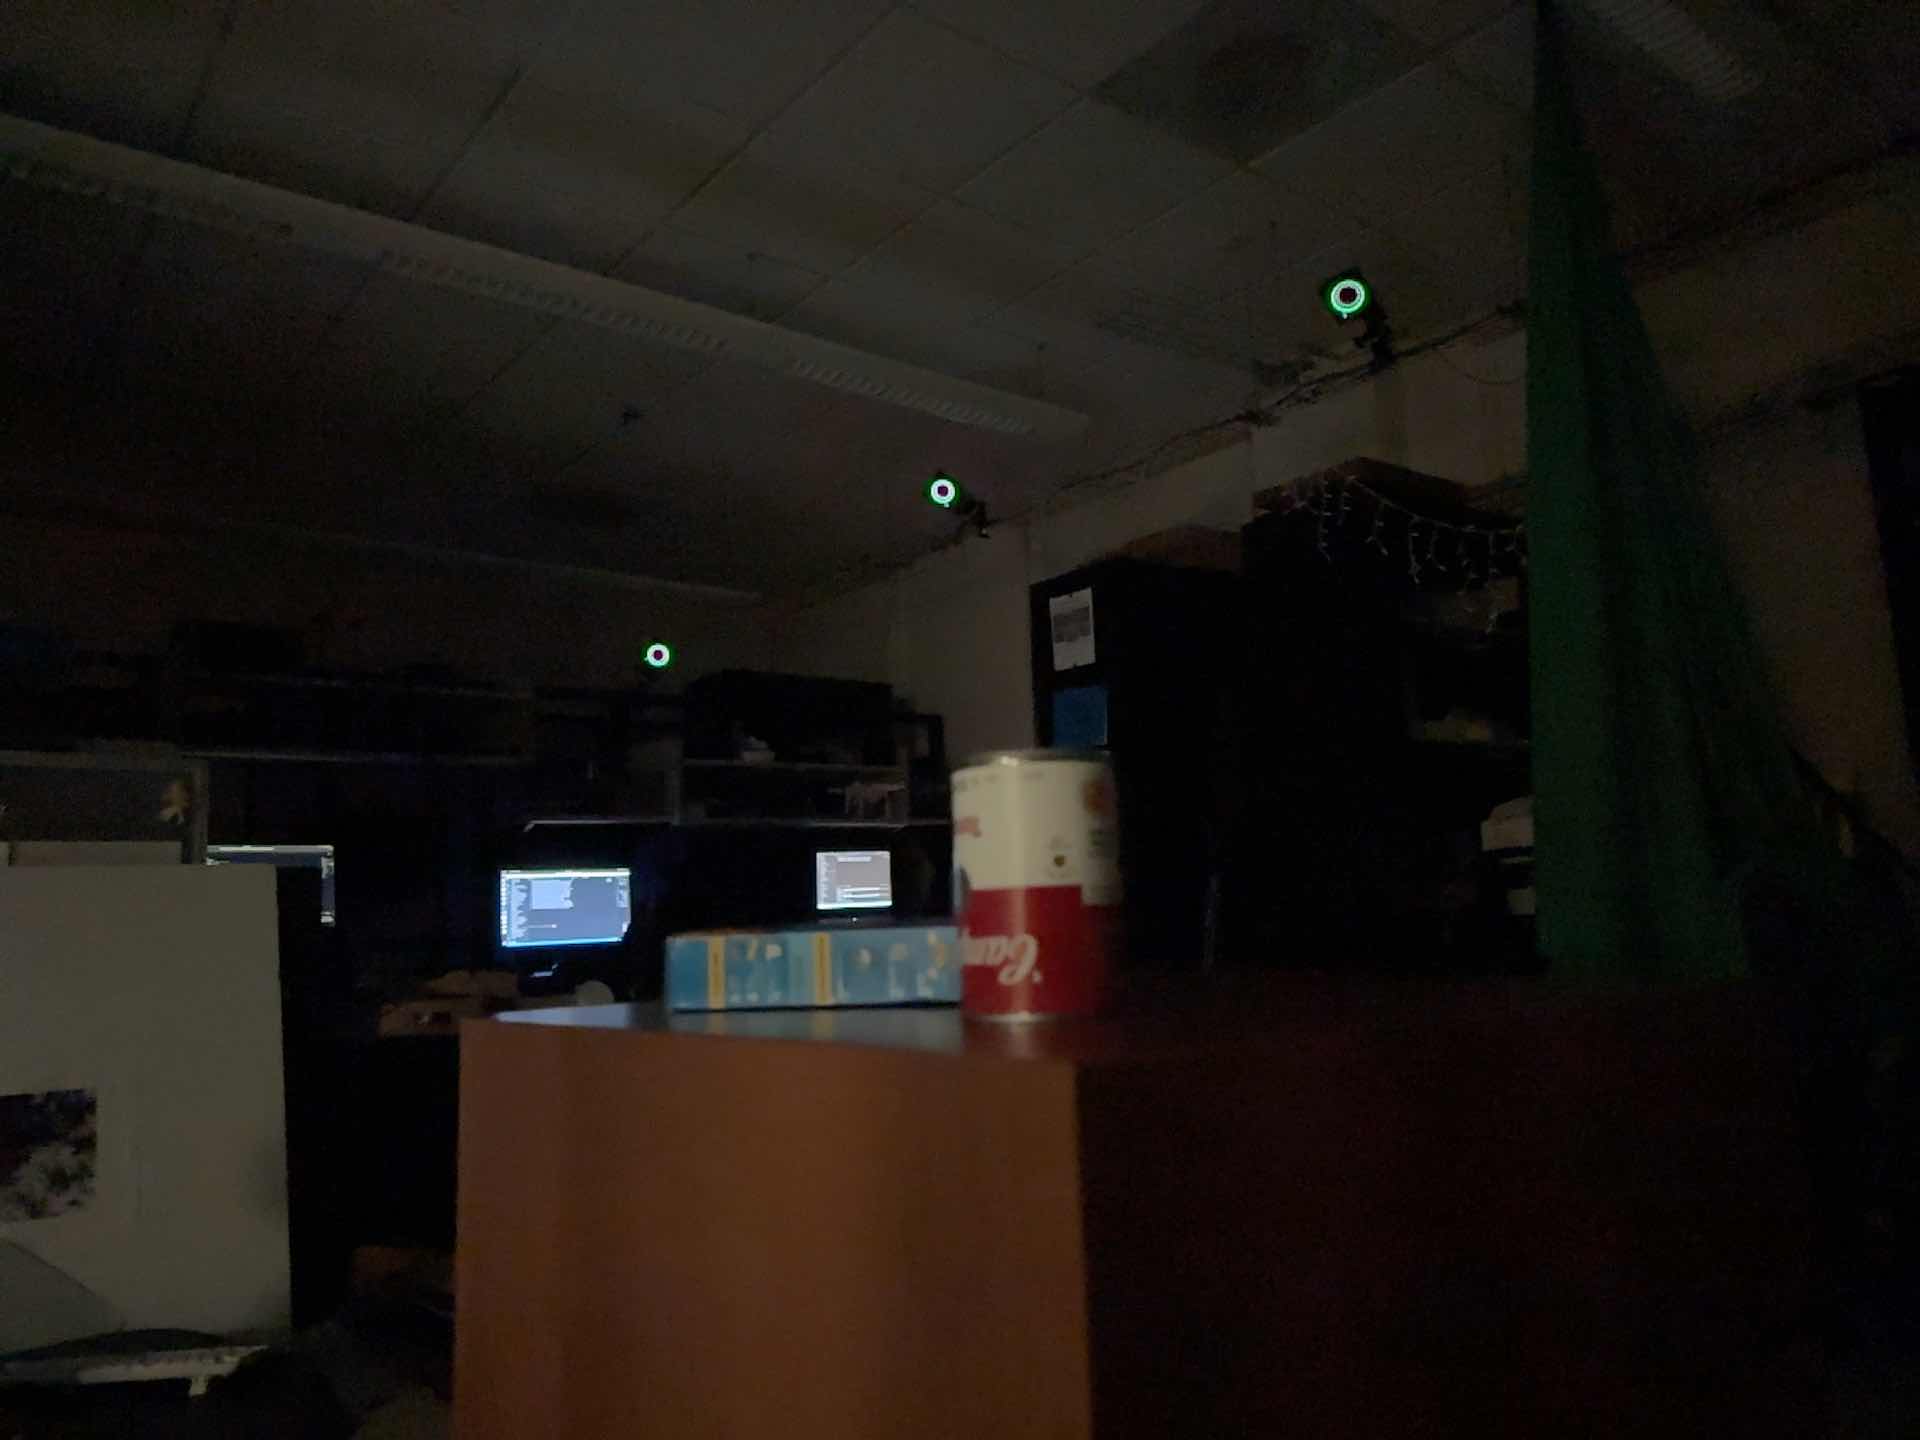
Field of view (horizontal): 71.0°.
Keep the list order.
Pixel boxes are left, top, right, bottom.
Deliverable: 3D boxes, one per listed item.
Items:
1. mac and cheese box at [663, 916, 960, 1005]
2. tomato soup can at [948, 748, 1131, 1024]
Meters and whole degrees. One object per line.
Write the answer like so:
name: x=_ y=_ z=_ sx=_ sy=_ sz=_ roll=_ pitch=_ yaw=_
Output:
mac and cheese box: x=-0.042 y=0.118 z=0.666 sx=0.181 sy=0.035 sz=0.088 roll=-4 pitch=-5 yaw=16
tomato soup can: x=0.030 y=0.064 z=0.530 sx=0.067 sy=0.102 sz=0.067 roll=-3 pitch=-6 yaw=0
